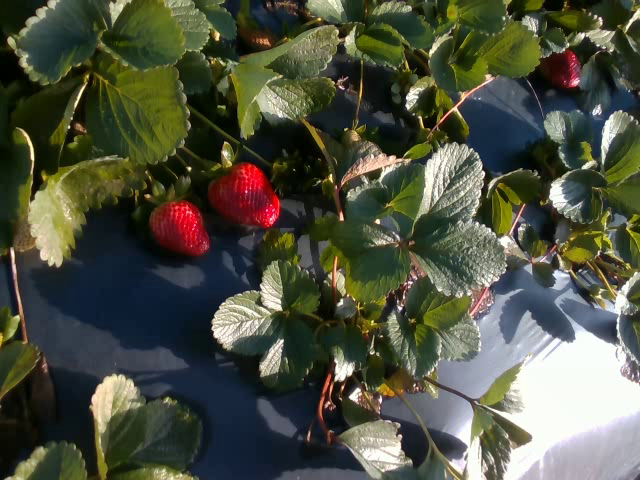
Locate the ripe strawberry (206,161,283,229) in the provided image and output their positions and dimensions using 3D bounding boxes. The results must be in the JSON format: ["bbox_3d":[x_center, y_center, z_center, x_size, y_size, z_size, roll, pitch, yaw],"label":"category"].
[{"bbox_3d":[-0.049,-0.028,0.445,0.058,0.052,0.046,44,-5,13],"label":"ripe strawberry"}]

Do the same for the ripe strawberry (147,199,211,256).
[{"bbox_3d":[-0.092,-0.004,0.419,0.052,0.043,0.036,38,1,10],"label":"ripe strawberry"}]
